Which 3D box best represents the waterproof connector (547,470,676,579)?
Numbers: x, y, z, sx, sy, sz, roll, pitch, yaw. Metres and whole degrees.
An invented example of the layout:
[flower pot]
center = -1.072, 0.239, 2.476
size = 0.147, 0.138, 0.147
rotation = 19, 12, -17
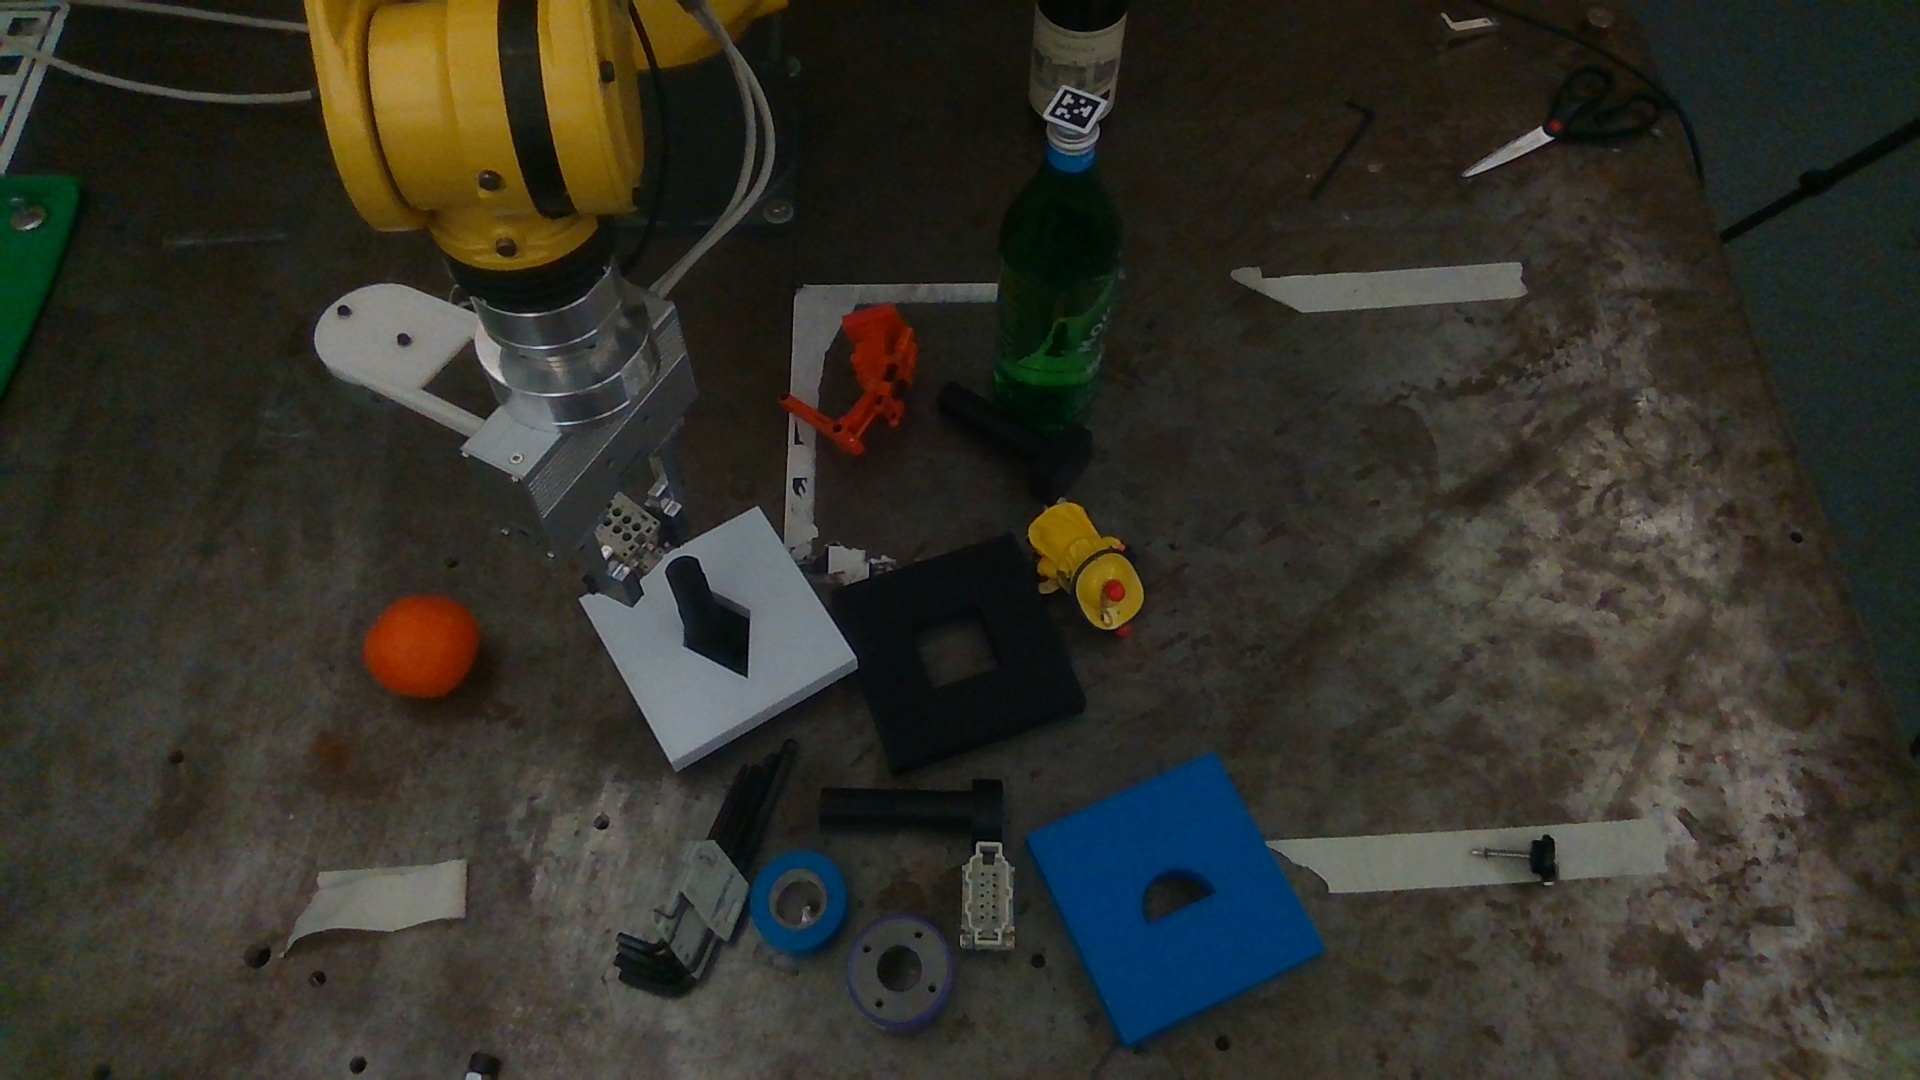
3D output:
[waterproof connector]
center = -0.198, -0.008, 0.786
size = 0.069, 0.039, 0.036
rotation = 34, 60, 1
